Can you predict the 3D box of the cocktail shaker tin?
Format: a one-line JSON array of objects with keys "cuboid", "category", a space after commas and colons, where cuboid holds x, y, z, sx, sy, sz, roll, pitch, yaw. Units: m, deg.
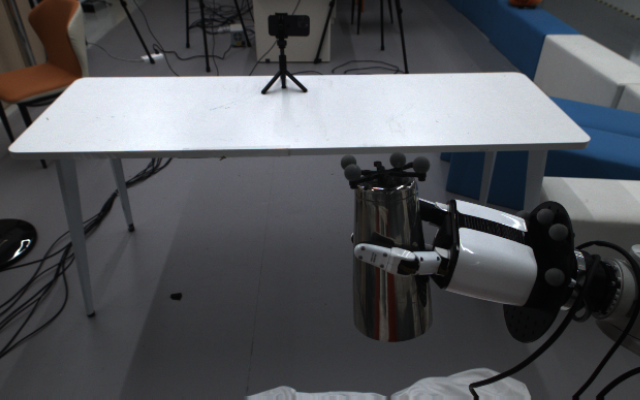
[{"cuboid": [0.078, 0.060, 0.541, 0.093, 0.170, 0.093, -6, 19, 2], "category": "cocktail shaker tin"}]
